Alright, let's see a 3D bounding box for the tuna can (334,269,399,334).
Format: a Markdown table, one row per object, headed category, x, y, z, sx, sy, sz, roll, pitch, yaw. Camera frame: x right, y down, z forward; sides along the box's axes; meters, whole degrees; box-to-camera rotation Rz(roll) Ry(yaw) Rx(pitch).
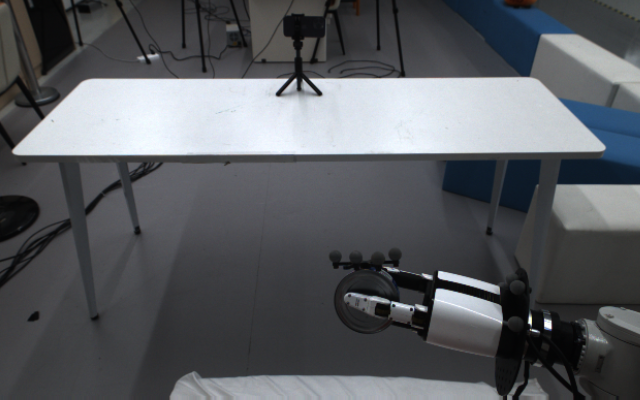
| category | x | y | z | sx | sy | sz | roll | pitch | yaw |
| --- | --- | --- | --- | --- | --- | --- | --- | --- | --- |
| tuna can | 0.065 | 0.131 | 0.643 | 0.085 | 0.085 | 0.034 | 10 | 2 | 12 |
